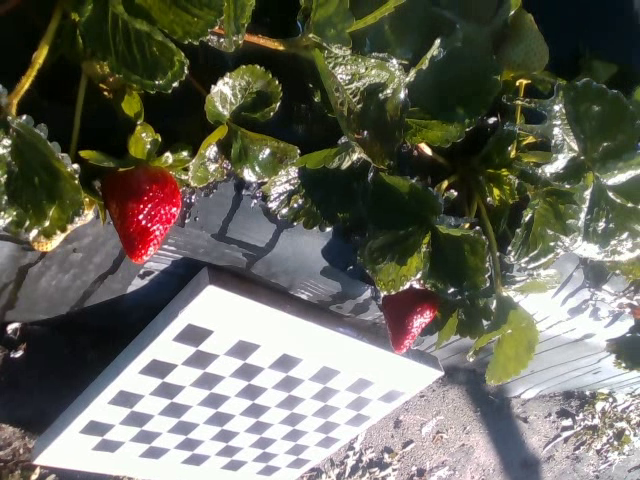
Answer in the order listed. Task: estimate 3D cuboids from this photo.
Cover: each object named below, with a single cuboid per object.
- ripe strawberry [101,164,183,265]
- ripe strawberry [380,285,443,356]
[{"bbox_3d":[-0.103,-0.012,0.342,0.042,0.061,0.046,13,-2,-29],"label":"ripe strawberry"},{"bbox_3d":[0.069,0.065,0.470,0.048,0.061,0.044,20,4,-33],"label":"ripe strawberry"}]
